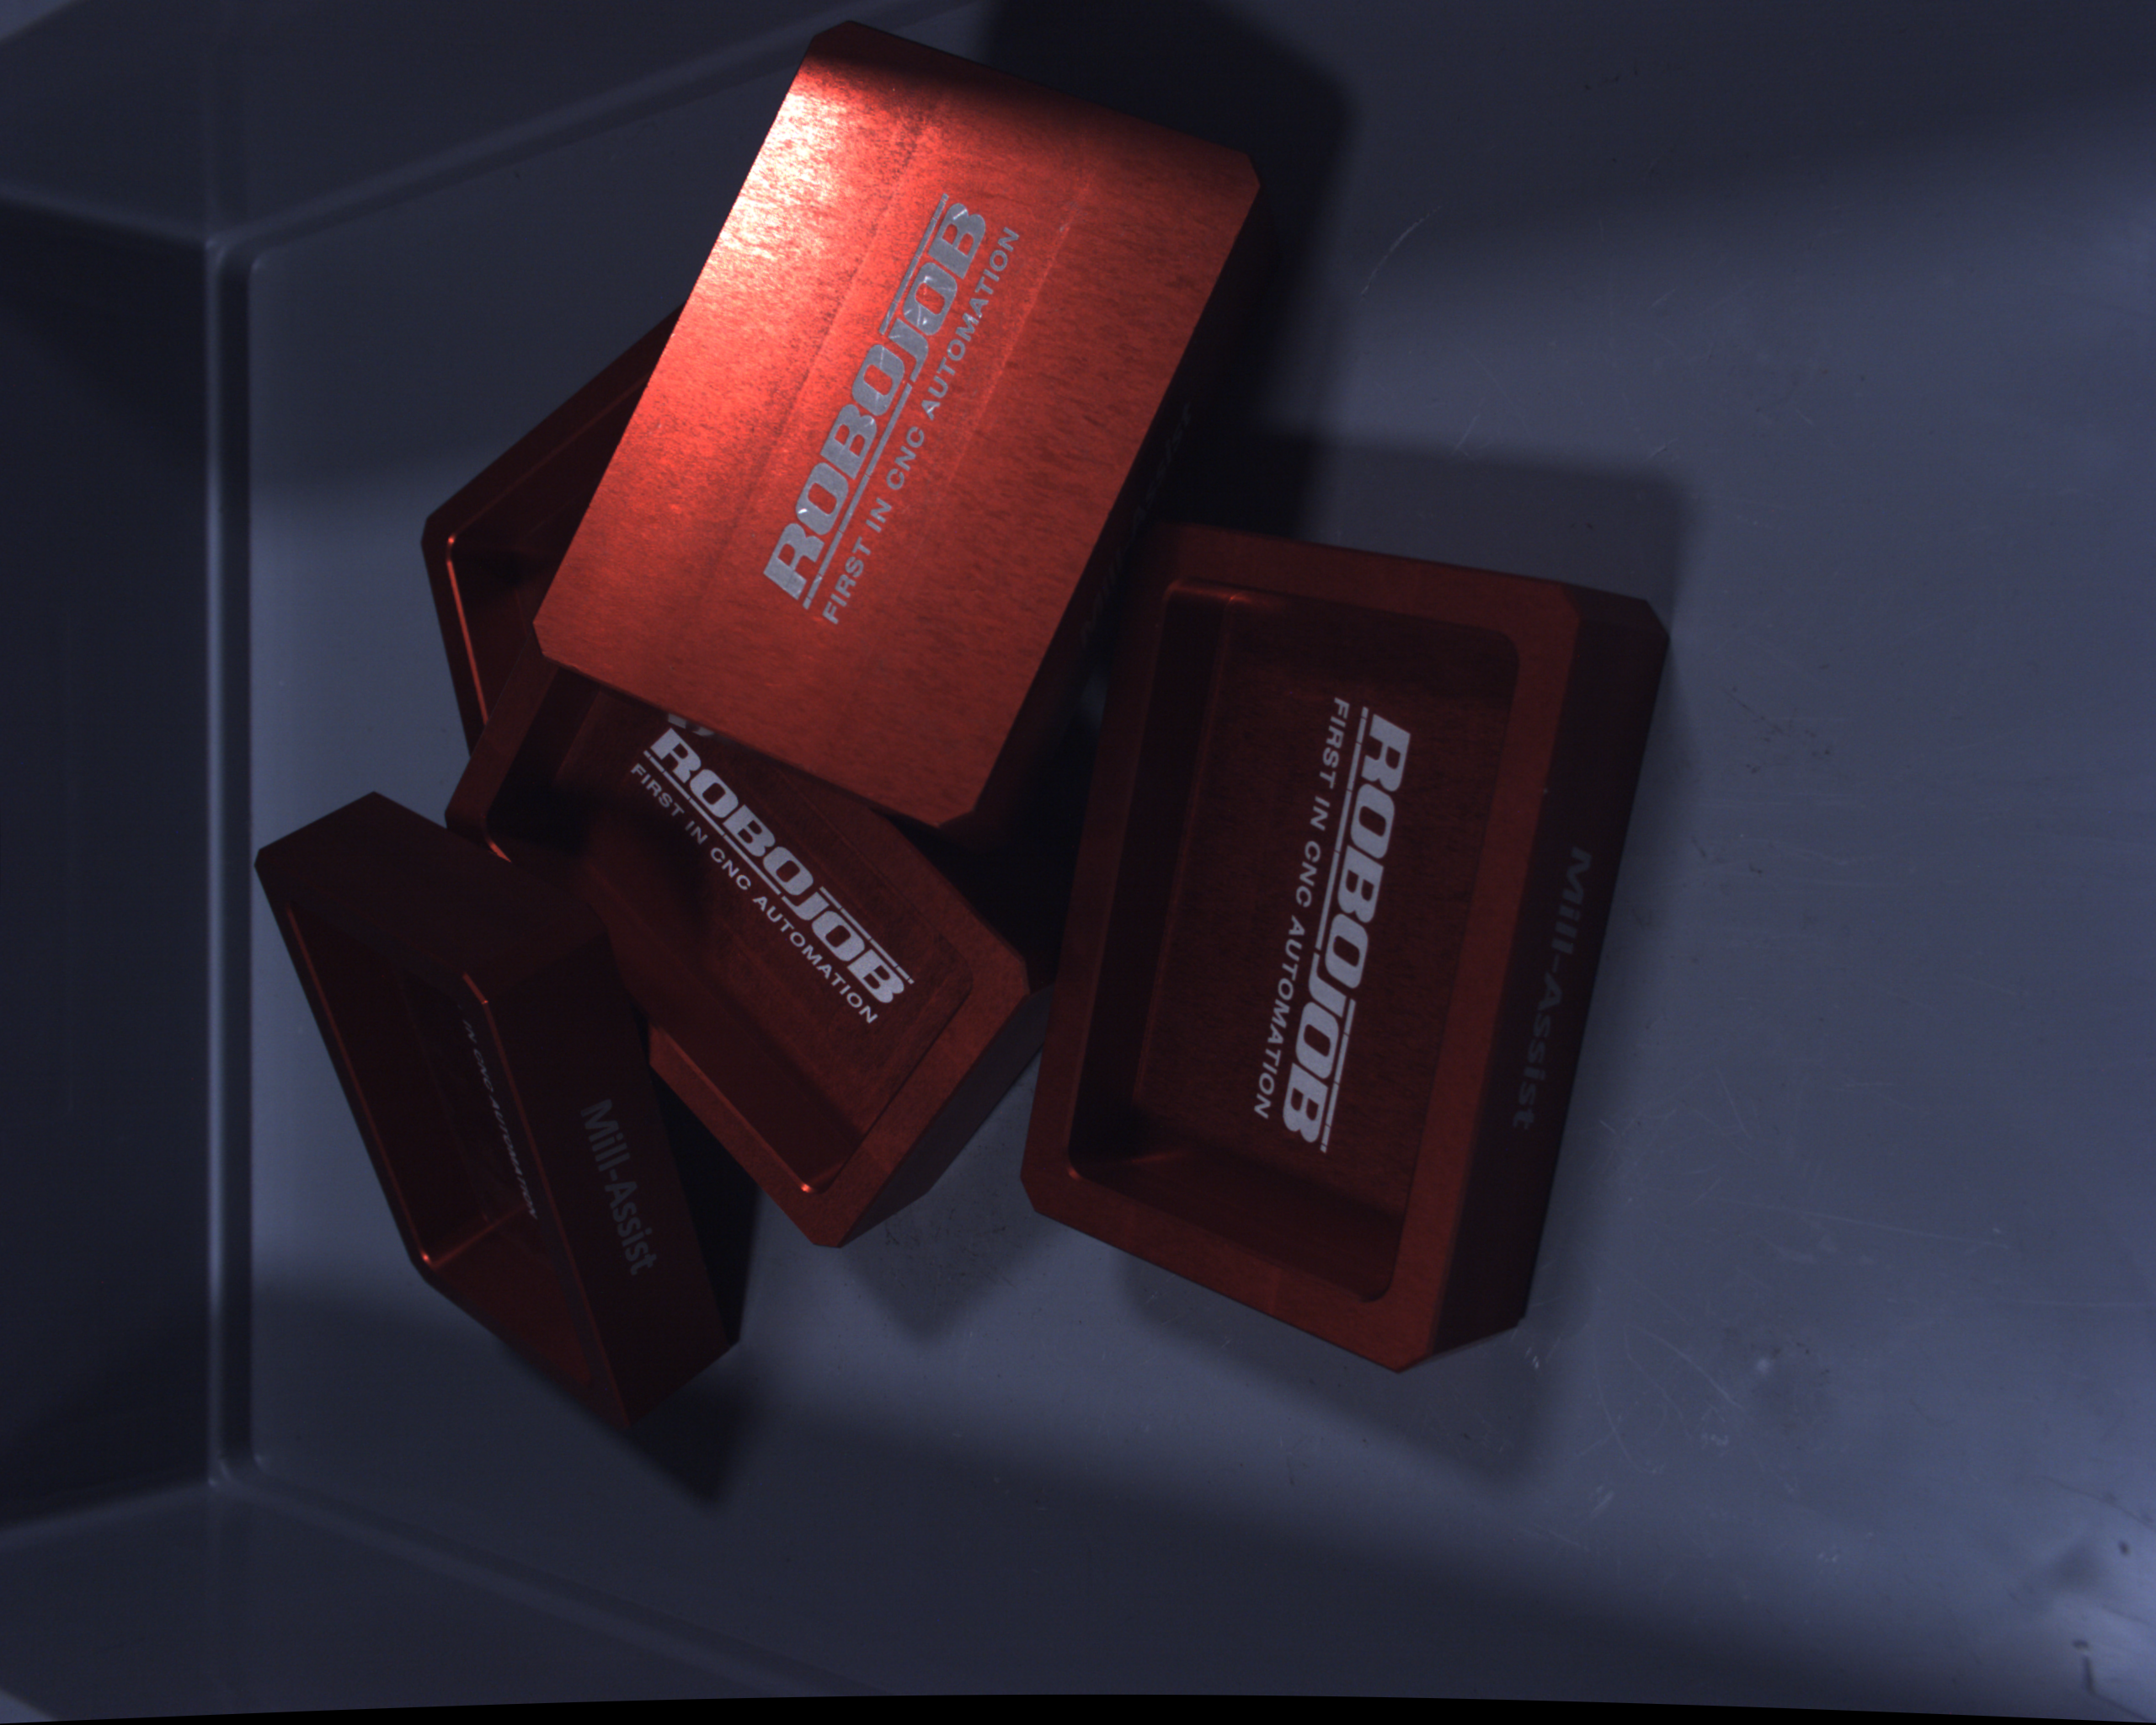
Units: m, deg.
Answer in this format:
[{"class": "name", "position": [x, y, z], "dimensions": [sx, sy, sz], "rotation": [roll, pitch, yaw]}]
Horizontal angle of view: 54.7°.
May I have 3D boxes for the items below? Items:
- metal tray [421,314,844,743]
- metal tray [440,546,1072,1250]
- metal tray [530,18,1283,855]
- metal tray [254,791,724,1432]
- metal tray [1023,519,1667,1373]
[{"class": "metal tray", "position": [-0.095, -0.064, 0.477], "dimensions": [0.130, 0.030, 0.090], "rotation": [-26, 74, 36]}, {"class": "metal tray", "position": [-0.066, 0.003, 0.426], "dimensions": [0.130, 0.030, 0.089], "rotation": [45, 124, 14]}, {"class": "metal tray", "position": [-0.030, -0.078, 0.379], "dimensions": [0.090, 0.030, 0.130], "rotation": [24, 86, 14]}, {"class": "metal tray", "position": [-0.131, 0.056, 0.468], "dimensions": [0.090, 0.030, 0.129], "rotation": [22, 133, 37]}, {"class": "metal tray", "position": [0.043, 0.011, 0.364], "dimensions": [0.090, 0.030, 0.129], "rotation": [16, 100, 38]}]
